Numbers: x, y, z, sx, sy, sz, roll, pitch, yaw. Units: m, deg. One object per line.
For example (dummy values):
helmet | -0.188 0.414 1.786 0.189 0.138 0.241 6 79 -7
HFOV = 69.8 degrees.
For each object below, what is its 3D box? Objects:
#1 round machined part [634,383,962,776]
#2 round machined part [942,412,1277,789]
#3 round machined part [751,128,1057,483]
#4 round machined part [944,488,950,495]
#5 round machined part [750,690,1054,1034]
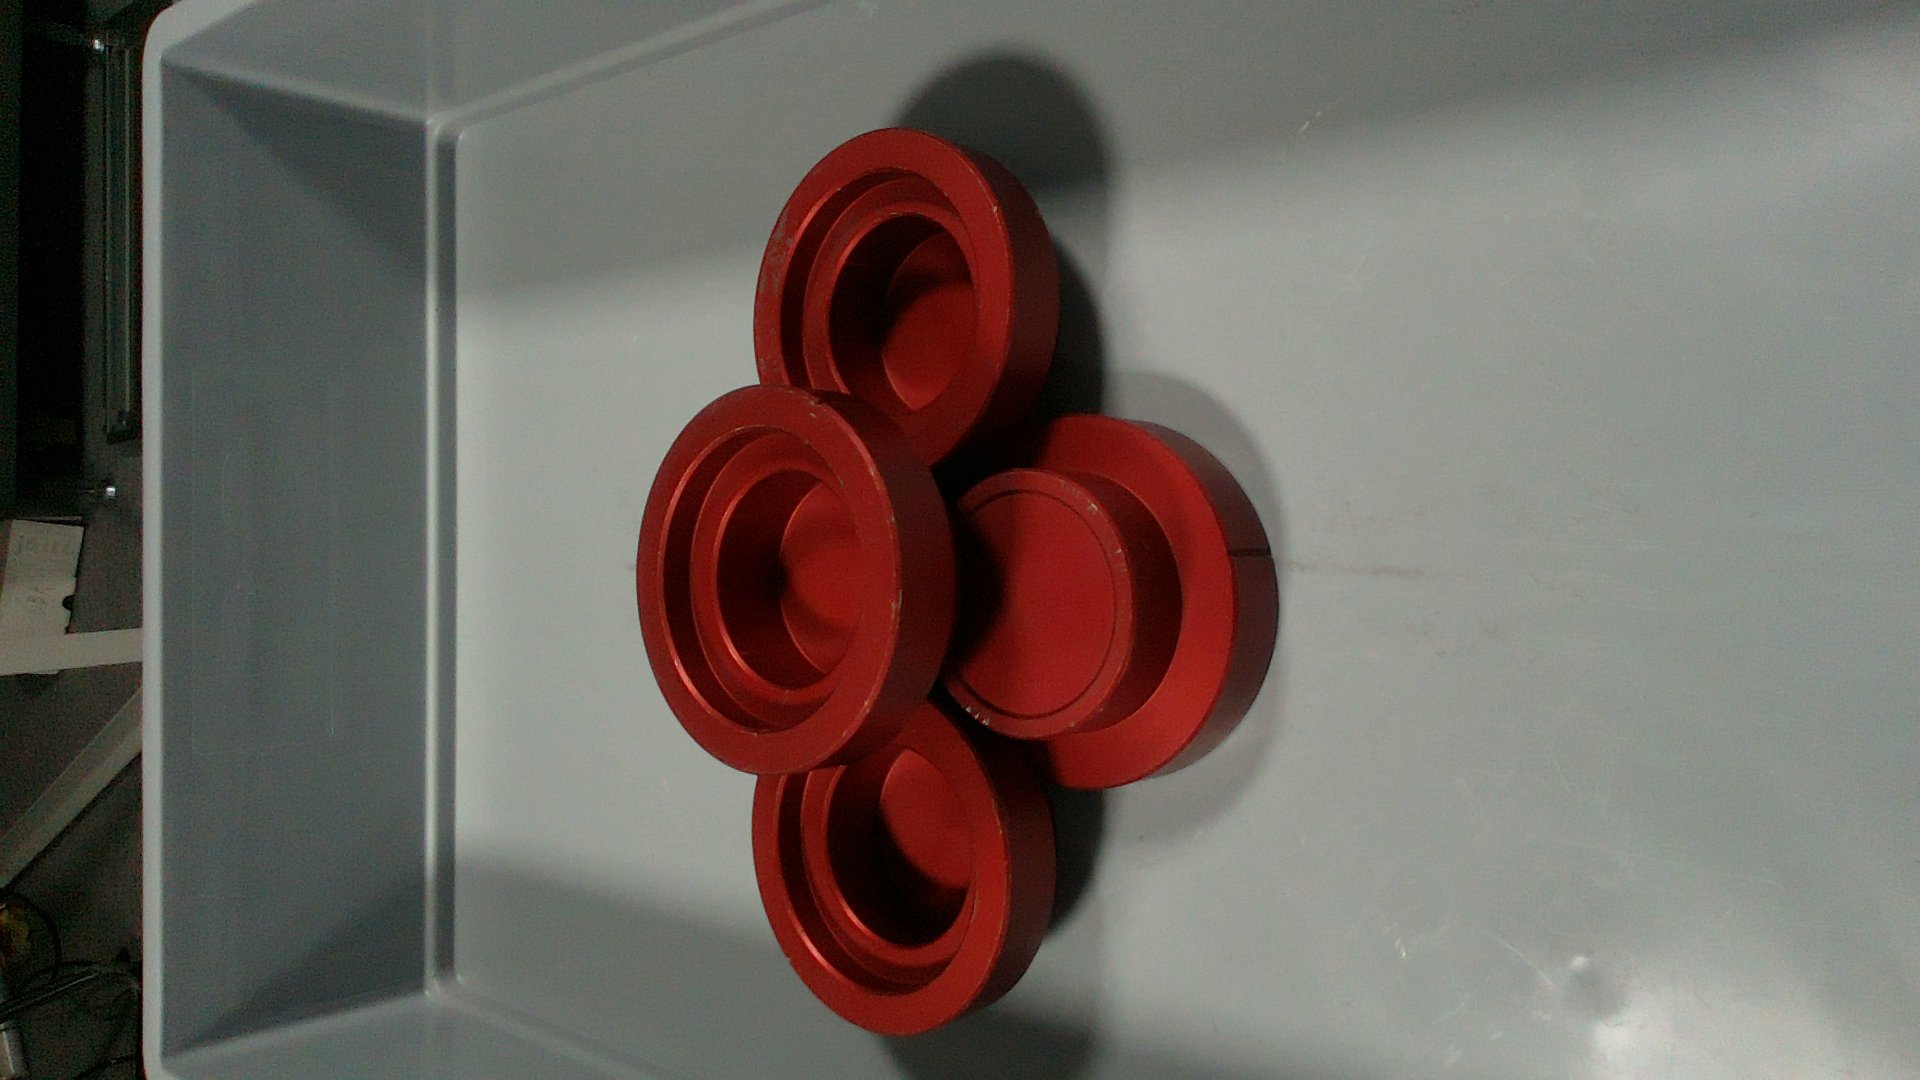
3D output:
round machined part | -0.038 0.010 0.358 0.098 0.042 0.098 0 90 40
round machined part | 0.028 0.016 0.357 0.098 0.042 0.098 0 90 40
round machined part | -0.011 -0.063 0.391 0.098 0.042 0.098 0 90 40
round machined part | -0.046 0.013 0.421 0.098 0.042 0.098 0 90 40
round machined part | -0.012 0.085 0.392 0.098 0.042 0.098 0 90 40
